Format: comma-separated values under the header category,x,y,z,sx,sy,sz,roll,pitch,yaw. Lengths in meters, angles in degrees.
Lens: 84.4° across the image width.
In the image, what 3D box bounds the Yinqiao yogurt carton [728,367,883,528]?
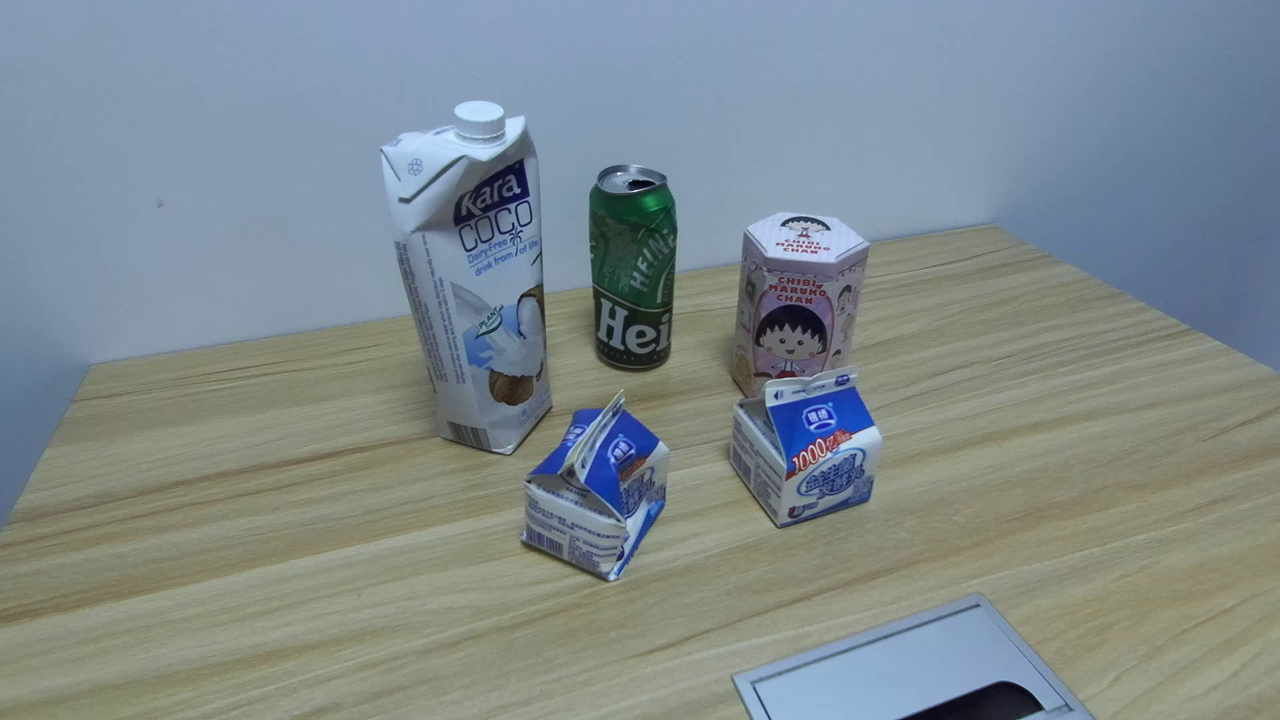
category,x,y,z,sx,sy,sz,roll,pitch,yaw
Yinqiao yogurt carton,0.109,0.046,0.466,0.076,0.092,0.073,-11,34,-19

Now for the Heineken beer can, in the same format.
category,x,y,z,sx,sy,sz,roll,pitch,yaw
Heineken beer can,-0.006,-0.072,0.581,0.066,0.164,0.077,-4,35,-4

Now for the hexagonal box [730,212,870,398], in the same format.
category,x,y,z,sx,sy,sz,roll,pitch,yaw
hexagonal box,0.120,-0.034,0.544,0.091,0.136,0.084,8,34,12

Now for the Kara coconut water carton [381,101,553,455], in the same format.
category,x,y,z,sx,sy,sz,roll,pitch,yaw
Kara coconut water carton,-0.109,-0.050,0.481,0.069,0.239,0.115,15,36,19

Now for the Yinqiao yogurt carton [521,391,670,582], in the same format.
category,x,y,z,sx,sy,sz,roll,pitch,yaw
Yinqiao yogurt carton,-0.028,0.070,0.431,0.071,0.094,0.077,18,39,19
